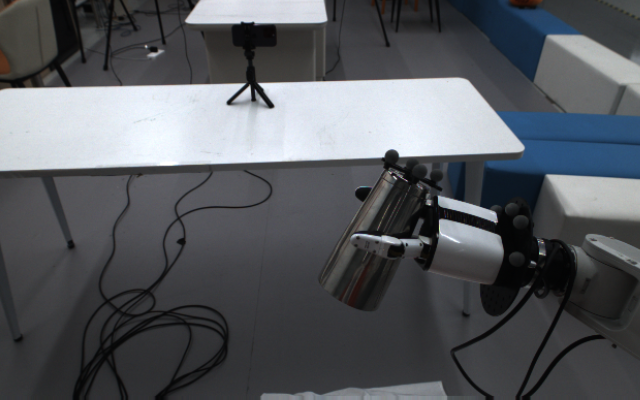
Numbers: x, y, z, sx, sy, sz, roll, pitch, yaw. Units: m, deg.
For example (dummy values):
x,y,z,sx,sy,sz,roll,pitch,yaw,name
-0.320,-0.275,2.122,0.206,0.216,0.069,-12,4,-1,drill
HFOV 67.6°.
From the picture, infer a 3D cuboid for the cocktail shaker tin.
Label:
x,y,z,sx,sy,sz,roll,pitch,yaw,name
0.077,0.046,0.632,0.093,0.170,0.093,24,12,-6,cocktail shaker tin
